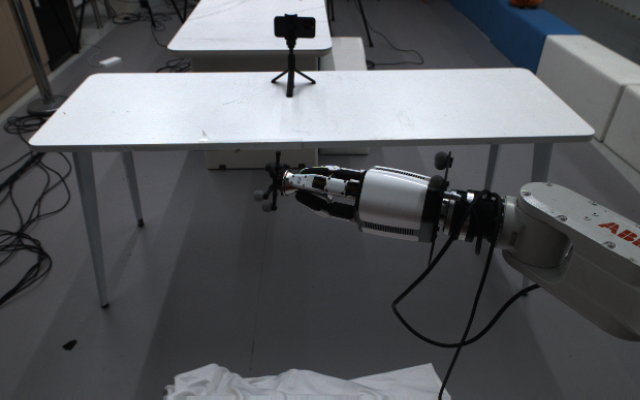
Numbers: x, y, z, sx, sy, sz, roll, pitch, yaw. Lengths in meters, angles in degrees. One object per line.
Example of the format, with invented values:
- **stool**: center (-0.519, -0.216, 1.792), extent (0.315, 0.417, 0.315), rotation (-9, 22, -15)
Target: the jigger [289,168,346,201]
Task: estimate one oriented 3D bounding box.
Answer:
- **jigger**: center (-0.010, -0.026, 0.694), extent (0.071, 0.043, 0.043), rotation (8, 35, 16)
